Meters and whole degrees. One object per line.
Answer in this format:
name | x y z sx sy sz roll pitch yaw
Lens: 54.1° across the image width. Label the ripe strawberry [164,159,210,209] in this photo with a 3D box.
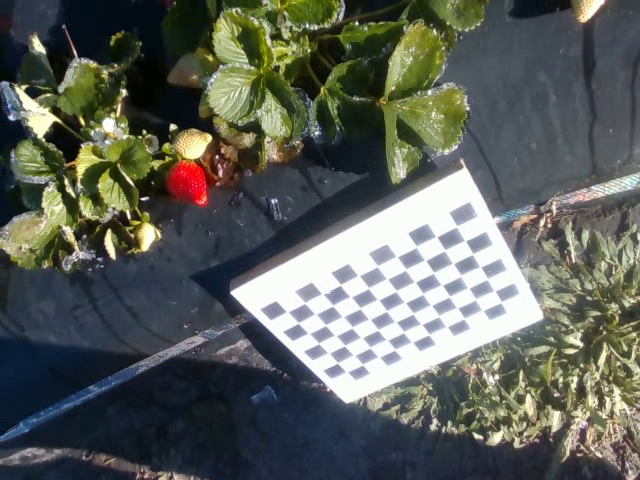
ripe strawberry | -0.115 -0.046 0.545 0.042 0.040 0.053 -5 42 -41
